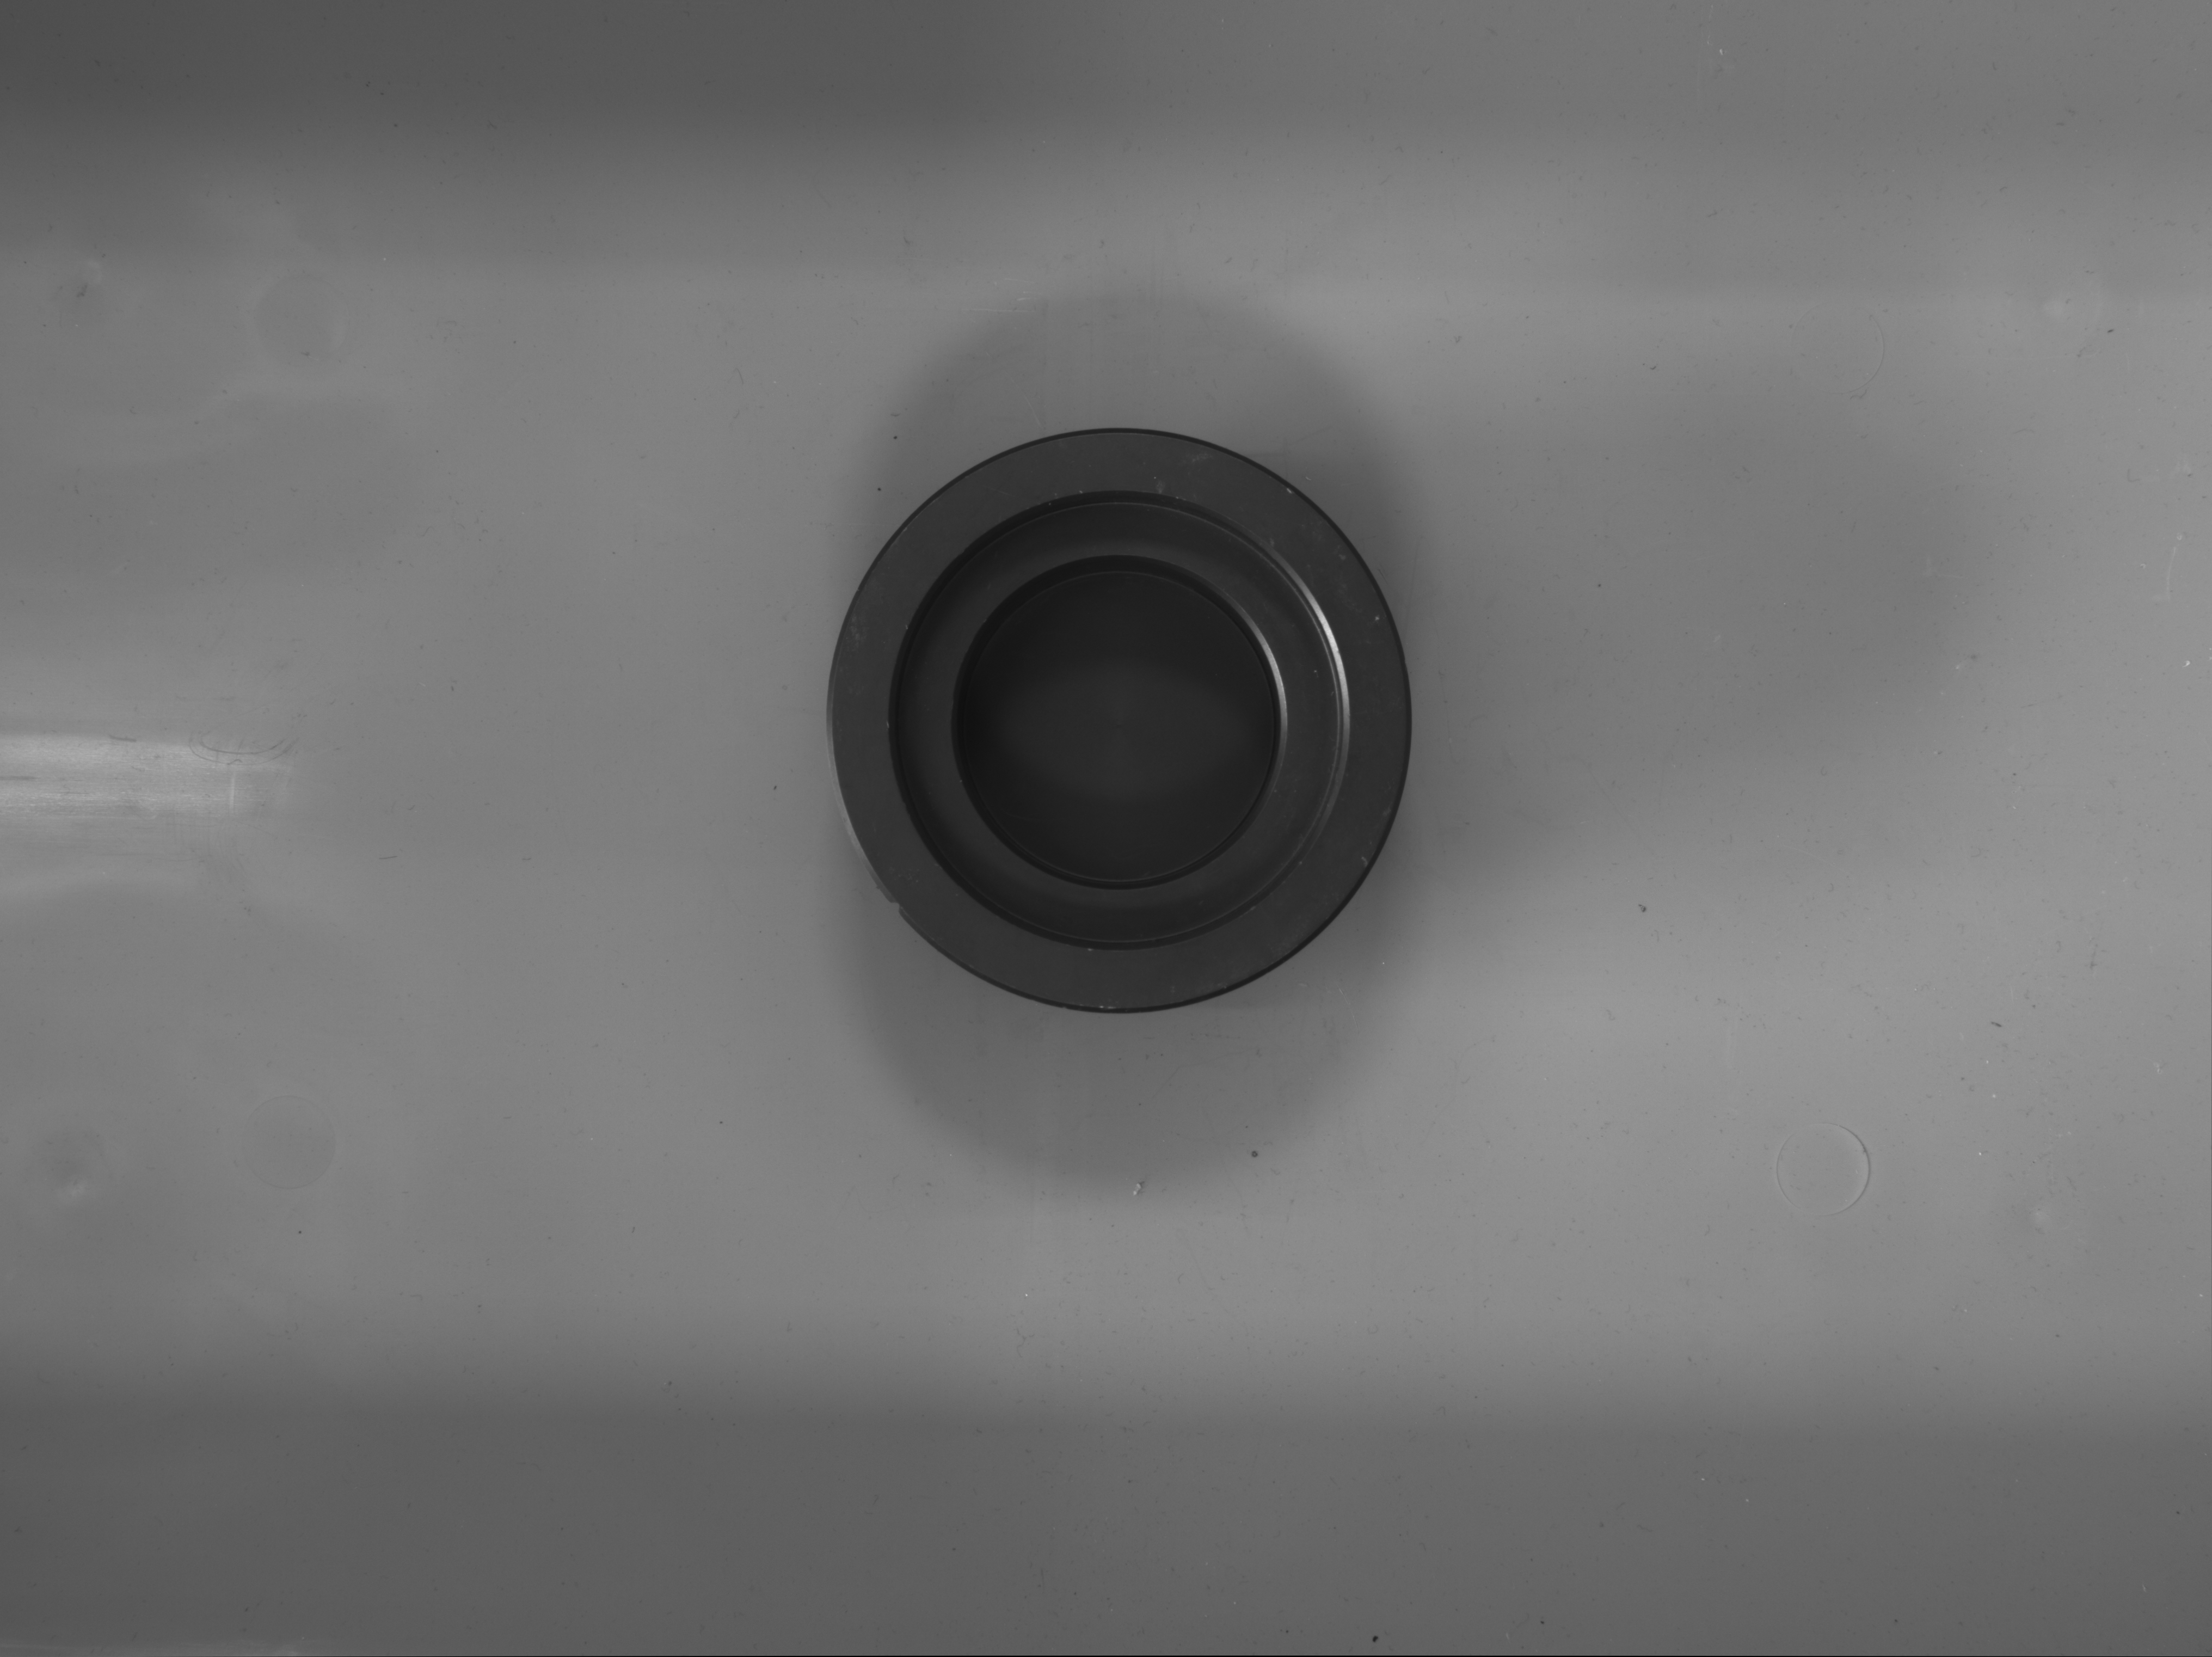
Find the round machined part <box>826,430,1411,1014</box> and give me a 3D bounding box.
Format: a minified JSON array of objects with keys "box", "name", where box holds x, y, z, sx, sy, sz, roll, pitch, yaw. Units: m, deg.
[{"box":[0.002,-0.018,0.635,0.098,0.042,0.098,0,90,0],"name":"round machined part"}]
